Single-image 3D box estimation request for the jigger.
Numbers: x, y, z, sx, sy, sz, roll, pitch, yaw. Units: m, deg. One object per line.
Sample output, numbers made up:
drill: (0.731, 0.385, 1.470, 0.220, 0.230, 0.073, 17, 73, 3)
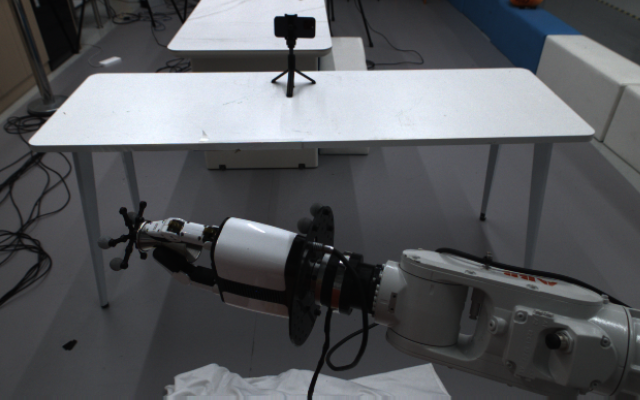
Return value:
jigger: (-0.178, 0.045, 0.593, 0.071, 0.043, 0.043, 8, 35, 14)
